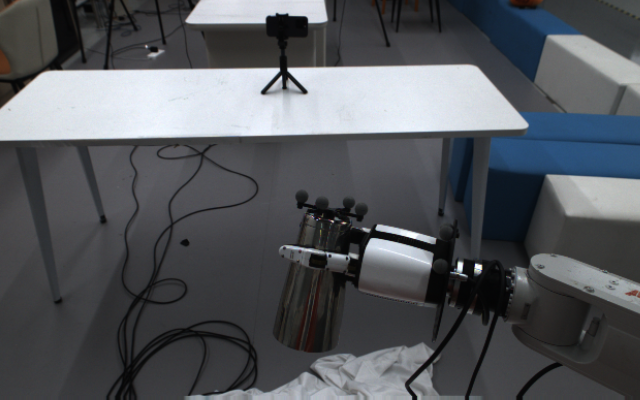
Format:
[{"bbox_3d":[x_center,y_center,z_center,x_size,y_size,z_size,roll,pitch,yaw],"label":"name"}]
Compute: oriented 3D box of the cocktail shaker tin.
[{"bbox_3d":[-0.001,0.101,0.651,0.093,0.170,0.093,10,9,-2],"label":"cocktail shaker tin"}]
